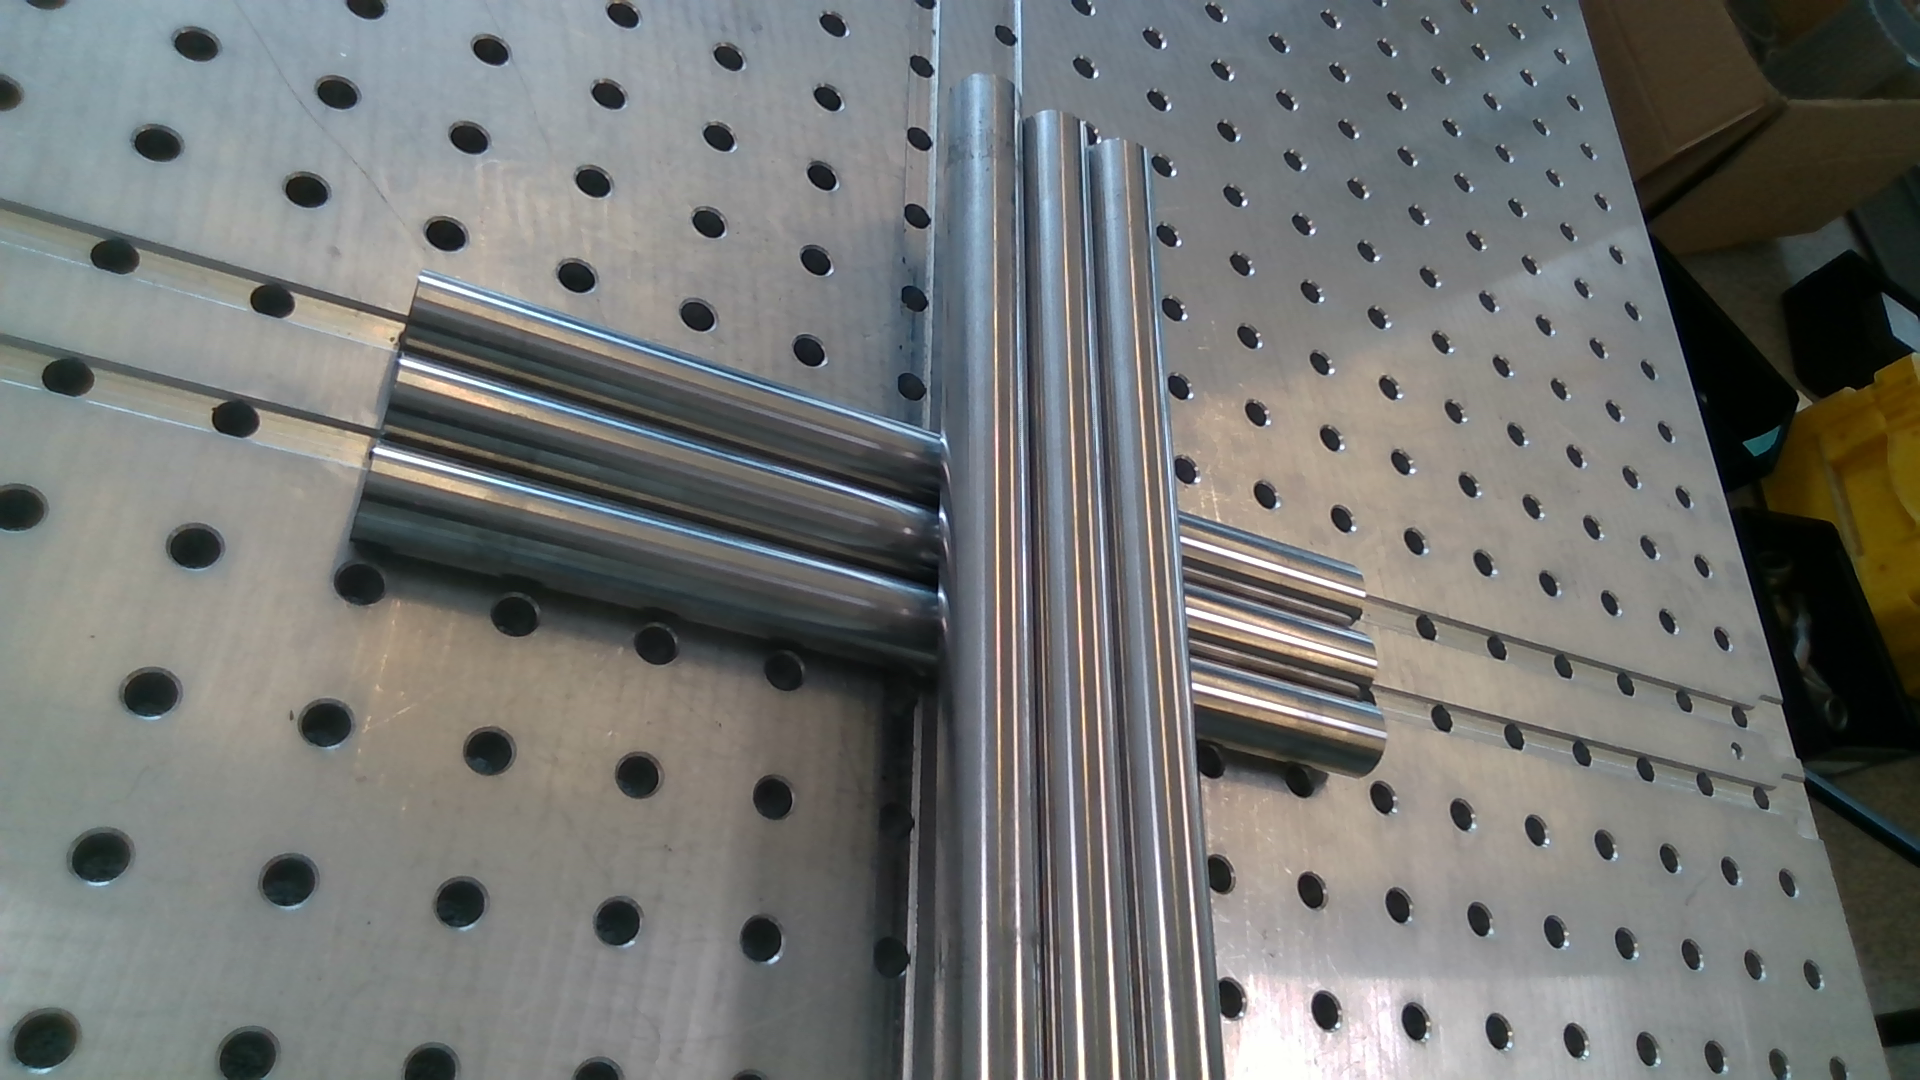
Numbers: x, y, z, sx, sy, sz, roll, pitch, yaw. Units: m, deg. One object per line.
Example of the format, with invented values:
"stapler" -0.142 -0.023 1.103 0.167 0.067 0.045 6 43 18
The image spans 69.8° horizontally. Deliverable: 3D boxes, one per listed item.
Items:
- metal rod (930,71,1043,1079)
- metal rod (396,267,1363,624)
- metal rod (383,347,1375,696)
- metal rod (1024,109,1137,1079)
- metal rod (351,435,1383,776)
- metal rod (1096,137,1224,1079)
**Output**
"metal rod" 0.007 -0.010 0.373 0.025 0.025 0.299 15 58 -25
"metal rod" -0.005 -0.018 0.403 0.300 0.025 0.025 16 58 -24
"metal rod" -0.004 0.004 0.392 0.300 0.025 0.025 16 58 -24
"metal rod" 0.029 -0.001 0.382 0.025 0.025 0.299 15 58 -25
"metal rod" -0.005 0.025 0.379 0.300 0.025 0.025 16 58 -24
"metal rod" 0.051 0.005 0.392 0.025 0.025 0.299 15 58 -25
